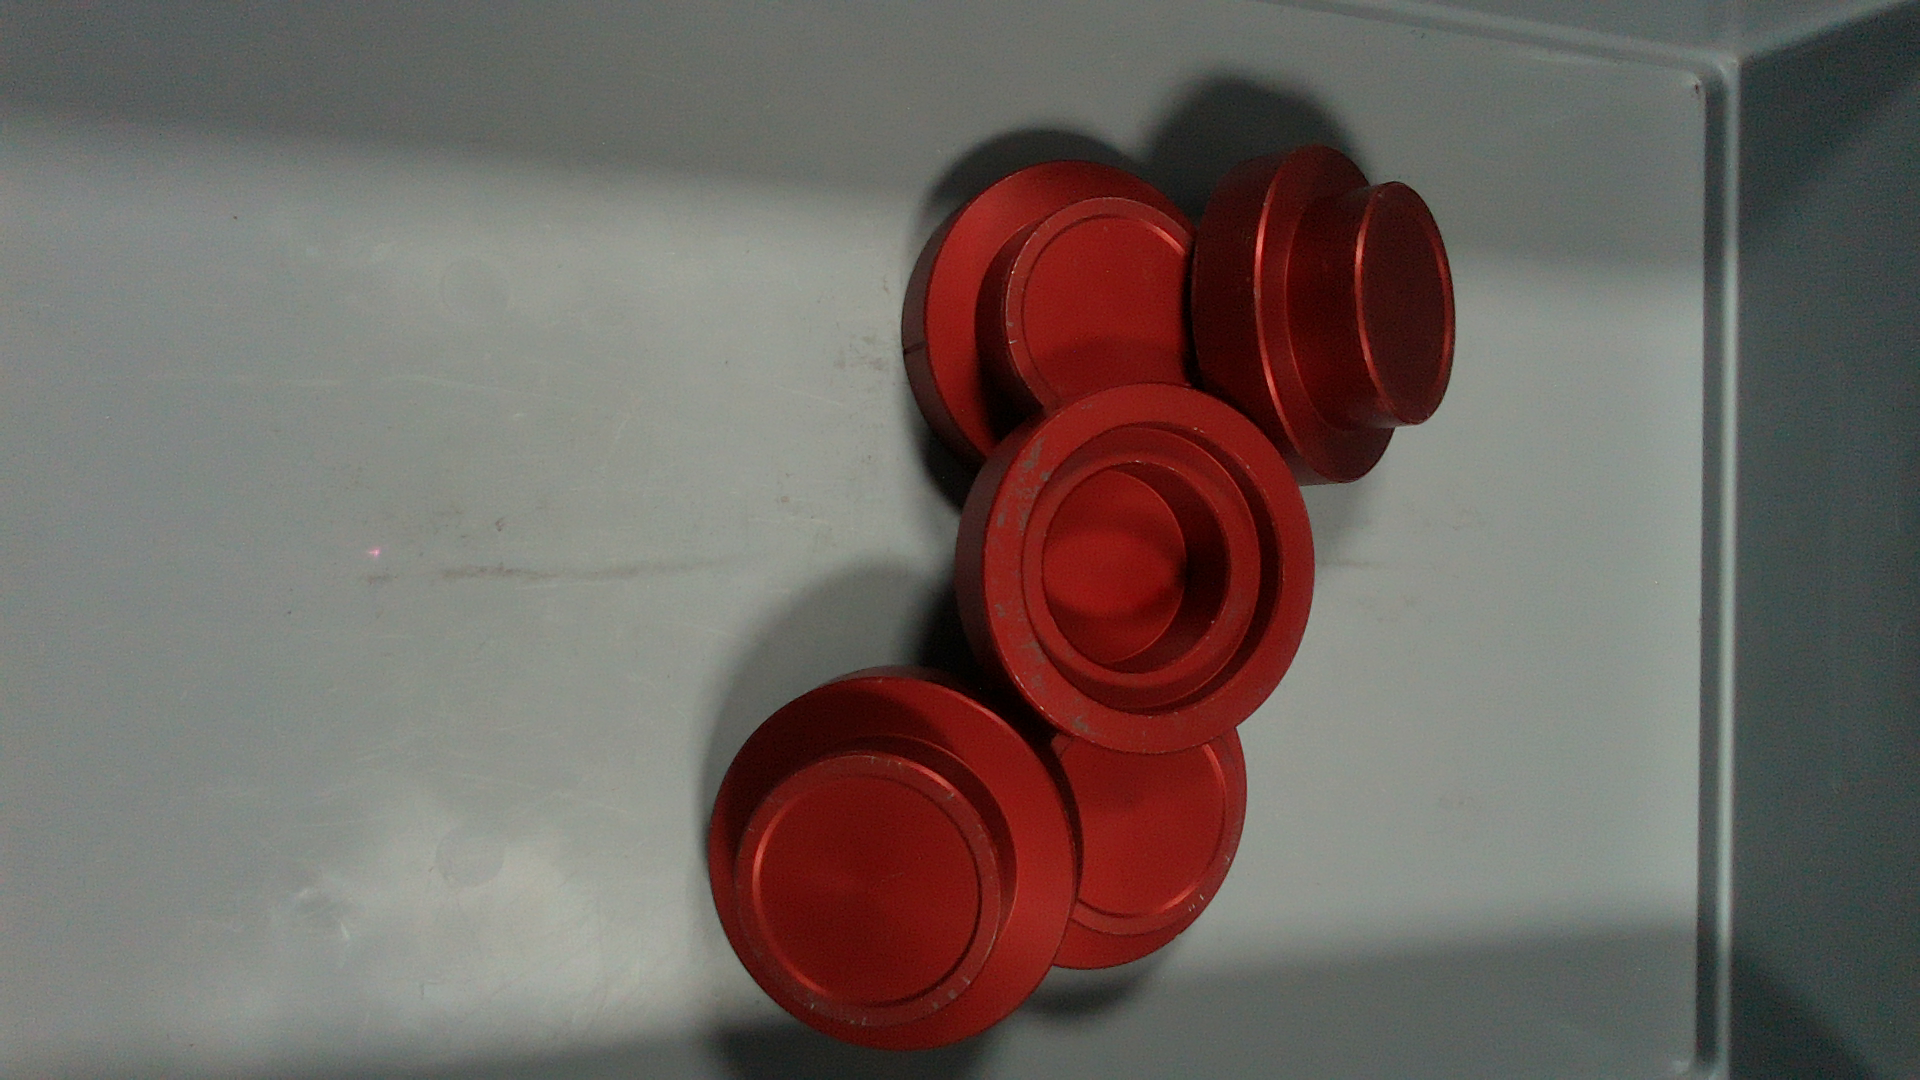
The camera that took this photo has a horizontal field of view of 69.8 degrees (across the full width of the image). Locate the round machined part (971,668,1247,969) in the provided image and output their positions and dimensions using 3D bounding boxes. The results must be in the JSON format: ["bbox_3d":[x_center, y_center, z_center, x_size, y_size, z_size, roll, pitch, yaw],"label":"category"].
[{"bbox_3d":[0.041,0.075,0.398,0.098,0.042,0.098,0,90,-20],"label":"round machined part"}]

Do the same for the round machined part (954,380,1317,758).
[{"bbox_3d":[0.044,0.007,0.376,0.098,0.042,0.098,0,90,-20],"label":"round machined part"}]

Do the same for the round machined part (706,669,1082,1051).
[{"bbox_3d":[-0.019,0.084,0.354,0.098,0.042,0.098,1,94,10],"label":"round machined part"}]

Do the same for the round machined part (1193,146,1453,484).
[{"bbox_3d":[0.111,-0.065,0.401,0.098,0.042,0.098,5,84,-50],"label":"round machined part"}]

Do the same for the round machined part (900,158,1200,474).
[{"bbox_3d":[0.036,-0.061,0.396,0.098,0.042,0.098,0,90,-20],"label":"round machined part"}]
